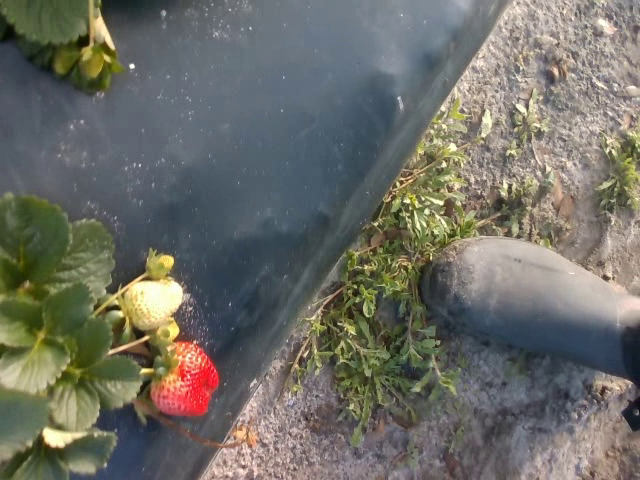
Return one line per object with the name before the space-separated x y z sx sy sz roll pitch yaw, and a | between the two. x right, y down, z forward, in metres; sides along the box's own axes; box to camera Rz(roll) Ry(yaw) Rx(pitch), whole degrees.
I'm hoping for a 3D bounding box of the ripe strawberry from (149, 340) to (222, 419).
ripe strawberry | -0.086 0.100 0.409 0.034 0.048 0.050 26 -12 47
